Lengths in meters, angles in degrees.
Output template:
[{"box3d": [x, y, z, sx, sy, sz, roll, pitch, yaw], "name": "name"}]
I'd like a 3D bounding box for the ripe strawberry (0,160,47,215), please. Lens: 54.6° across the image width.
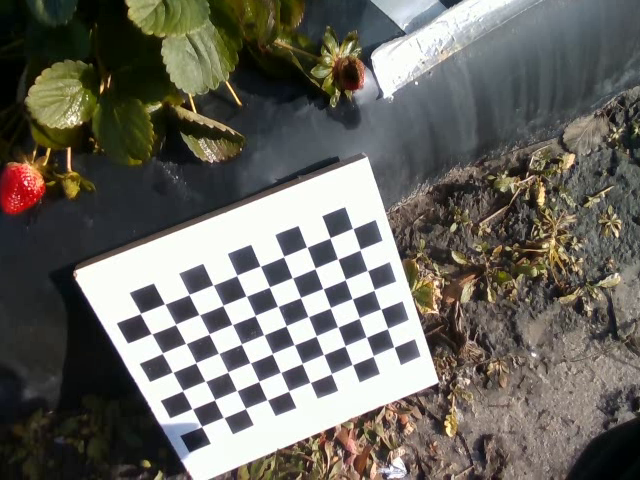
[{"box3d": [-0.273, -0.045, 0.557, 0.043, 0.053, 0.038, 22, -28, -17], "name": "ripe strawberry"}]
